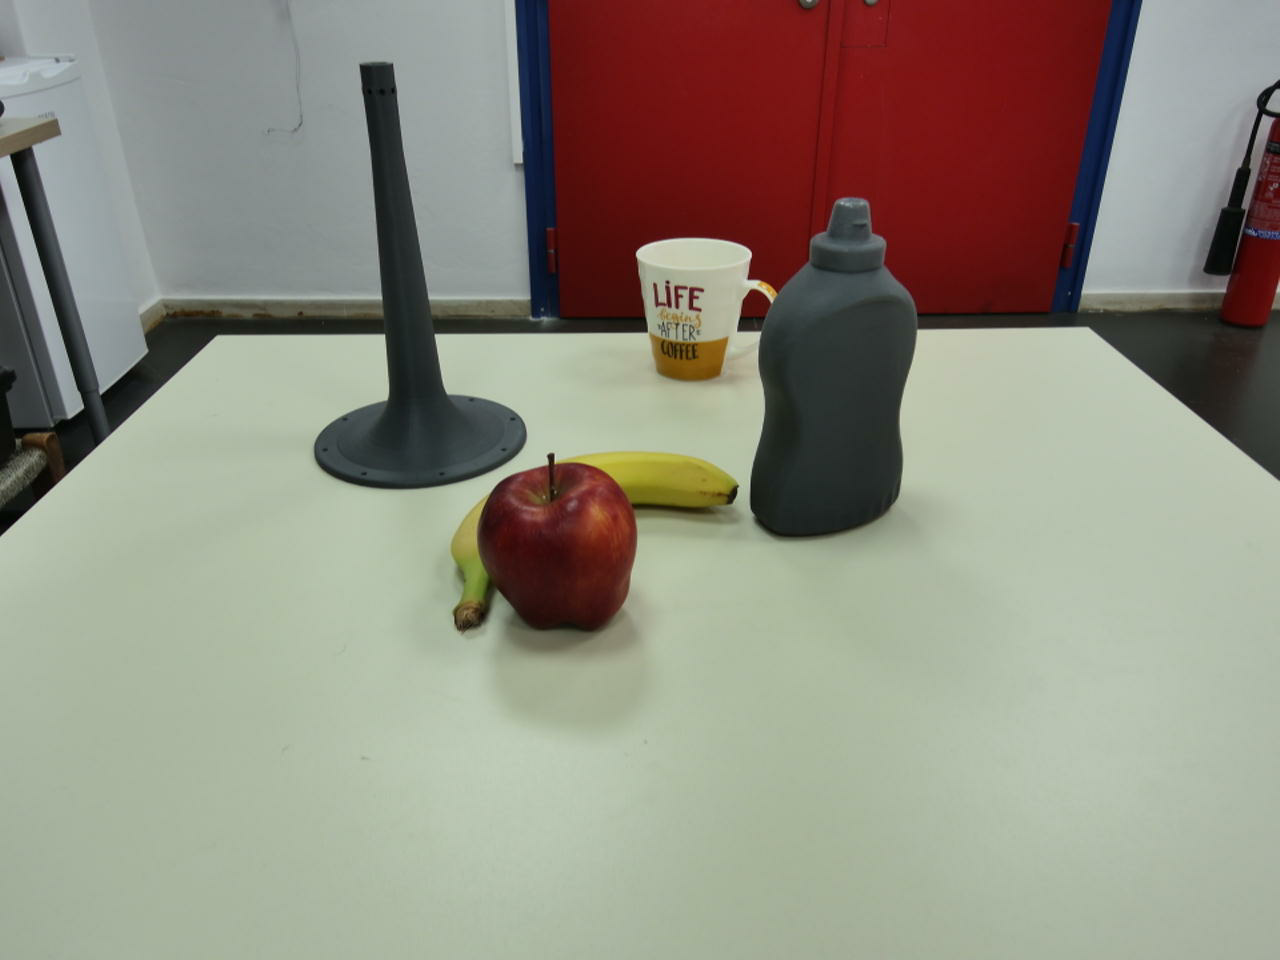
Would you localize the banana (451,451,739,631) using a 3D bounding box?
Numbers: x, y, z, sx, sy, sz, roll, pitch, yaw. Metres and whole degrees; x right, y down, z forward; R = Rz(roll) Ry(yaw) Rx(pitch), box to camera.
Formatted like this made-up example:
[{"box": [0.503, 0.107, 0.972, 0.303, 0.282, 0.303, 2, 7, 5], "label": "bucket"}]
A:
[{"box": [-0.040, 0.019, 0.597, 0.196, 0.041, 0.094, -18, 31, -32], "label": "banana"}]
